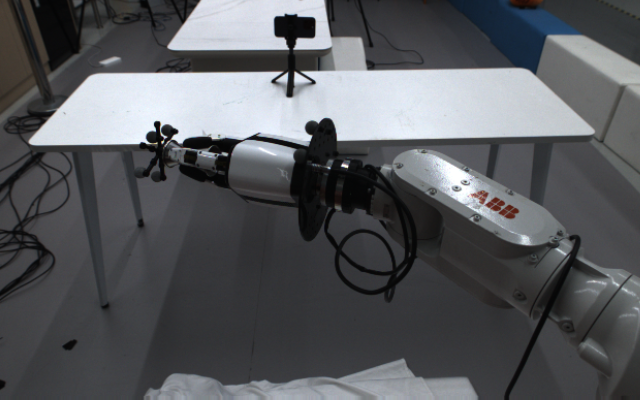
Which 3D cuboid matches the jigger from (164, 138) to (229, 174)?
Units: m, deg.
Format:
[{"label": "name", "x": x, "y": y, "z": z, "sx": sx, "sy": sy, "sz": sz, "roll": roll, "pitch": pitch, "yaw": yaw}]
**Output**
[{"label": "jigger", "x": -0.175, "y": -0.063, "z": 0.668, "sx": 0.071, "sy": 0.043, "sz": 0.043, "roll": 10, "pitch": 35, "yaw": 16}]
